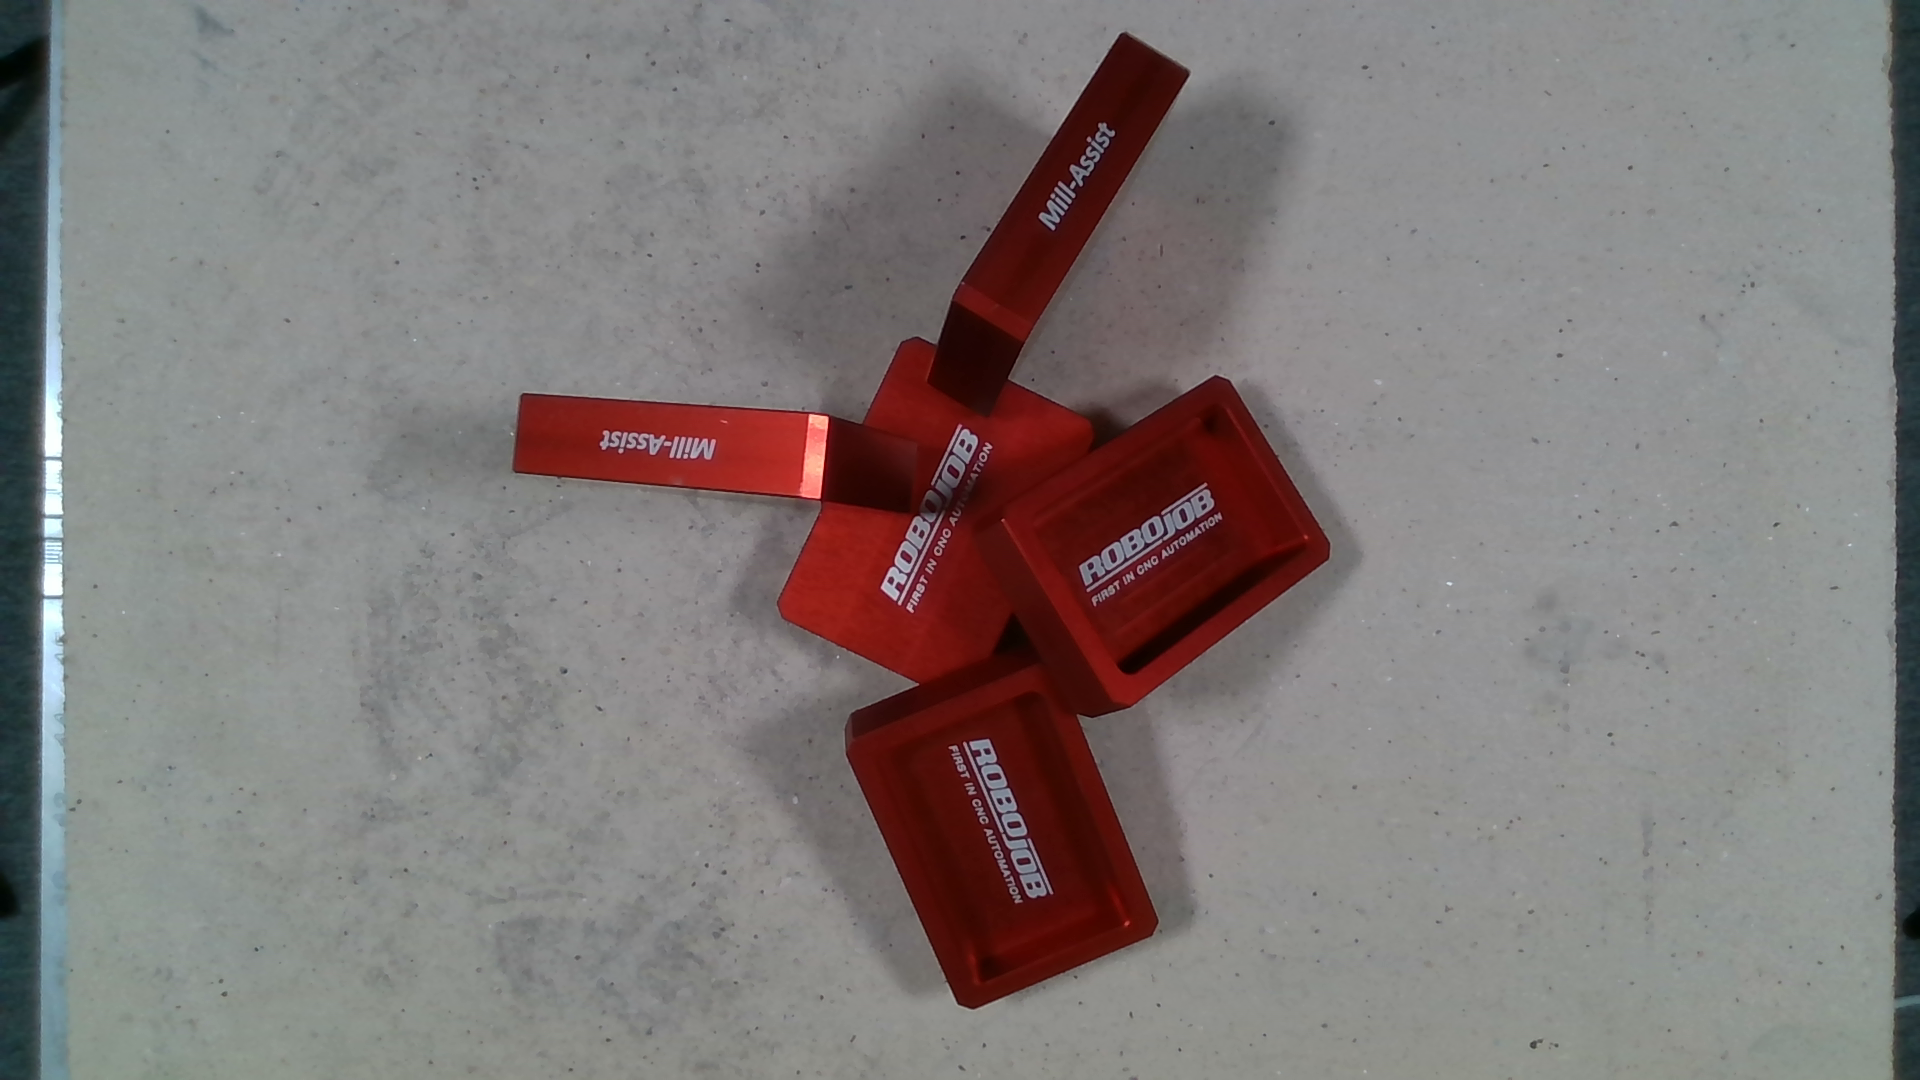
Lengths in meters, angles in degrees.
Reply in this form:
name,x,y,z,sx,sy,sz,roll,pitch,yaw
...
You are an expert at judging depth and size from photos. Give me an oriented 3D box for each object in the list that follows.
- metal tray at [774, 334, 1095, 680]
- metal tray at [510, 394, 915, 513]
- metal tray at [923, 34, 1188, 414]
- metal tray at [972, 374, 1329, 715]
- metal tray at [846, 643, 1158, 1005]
name,x,y,z,sx,sy,sz,roll,pitch,yaw
metal tray,-0.010,-0.010,0.584,0.090,0.030,0.130,25,90,0
metal tray,-0.094,-0.033,0.535,0.130,0.090,0.030,5,90,20
metal tray,0.035,-0.121,0.538,0.030,0.090,0.130,32,74,0
metal tray,0.079,0.000,0.555,0.130,0.030,0.090,-32,91,-29
metal tray,0.017,0.117,0.569,0.090,0.030,0.130,-22,105,0
